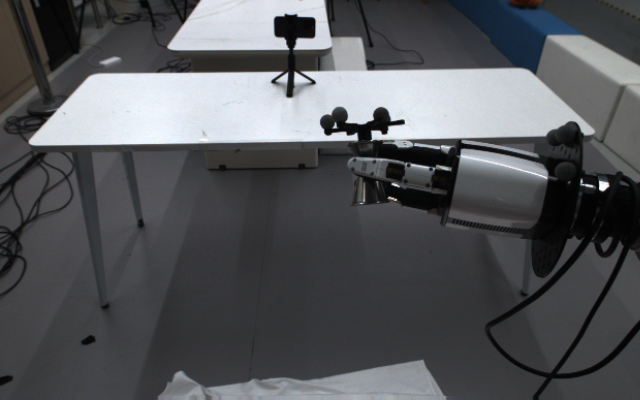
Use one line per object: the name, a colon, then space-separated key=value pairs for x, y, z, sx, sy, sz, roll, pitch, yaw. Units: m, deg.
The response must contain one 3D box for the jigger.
jigger: x=0.052 y=-0.030 z=0.533 sx=0.043 sy=0.071 sz=0.043 roll=-4 pitch=1 yaw=0
